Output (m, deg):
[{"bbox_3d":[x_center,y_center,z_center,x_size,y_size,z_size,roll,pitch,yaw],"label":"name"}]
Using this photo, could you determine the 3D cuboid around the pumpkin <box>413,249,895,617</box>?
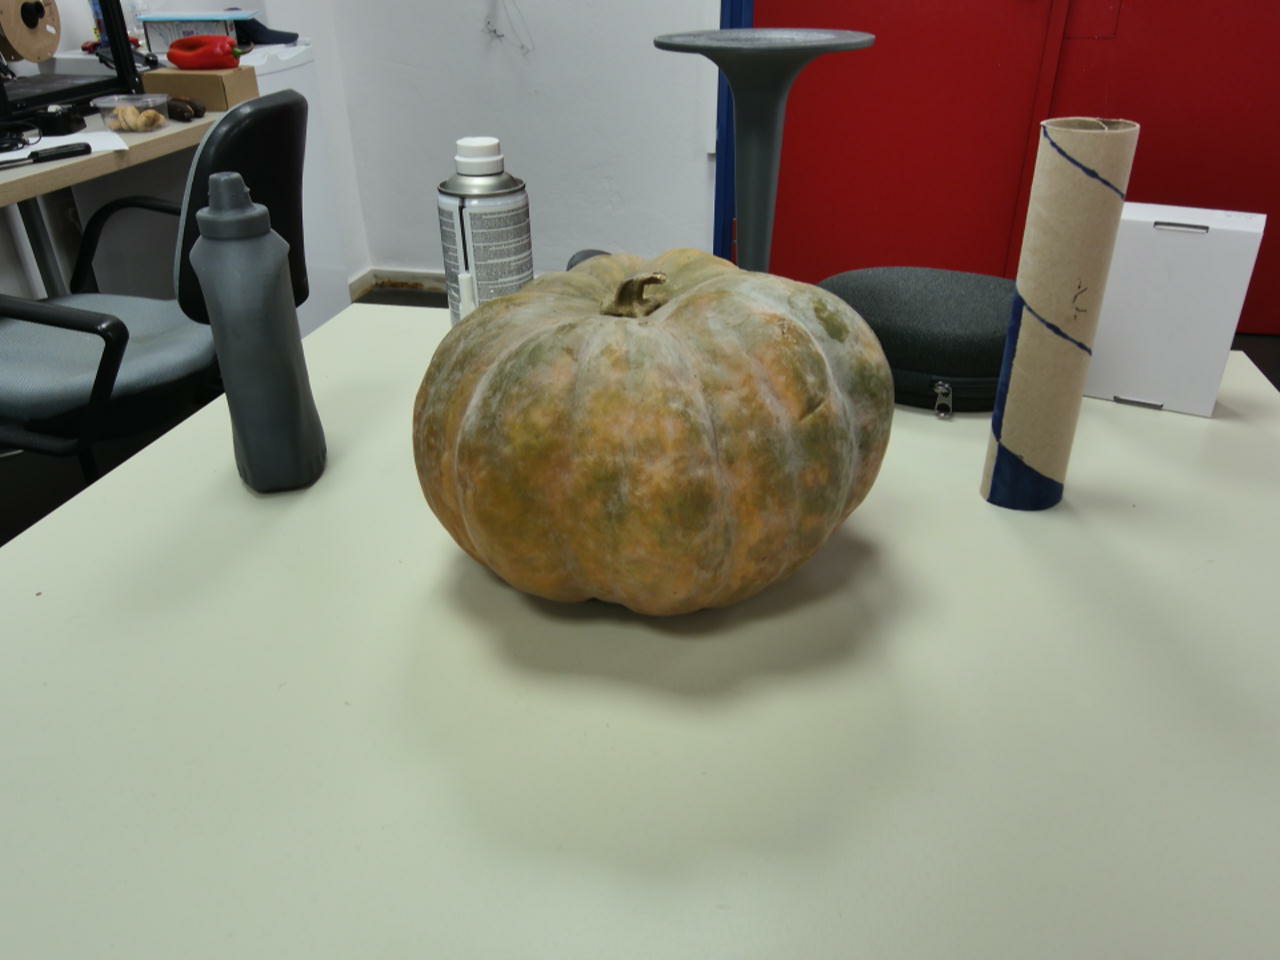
[{"bbox_3d":[0.001,-0.032,0.538,0.252,0.169,0.251,0,26,0],"label":"pumpkin"}]
